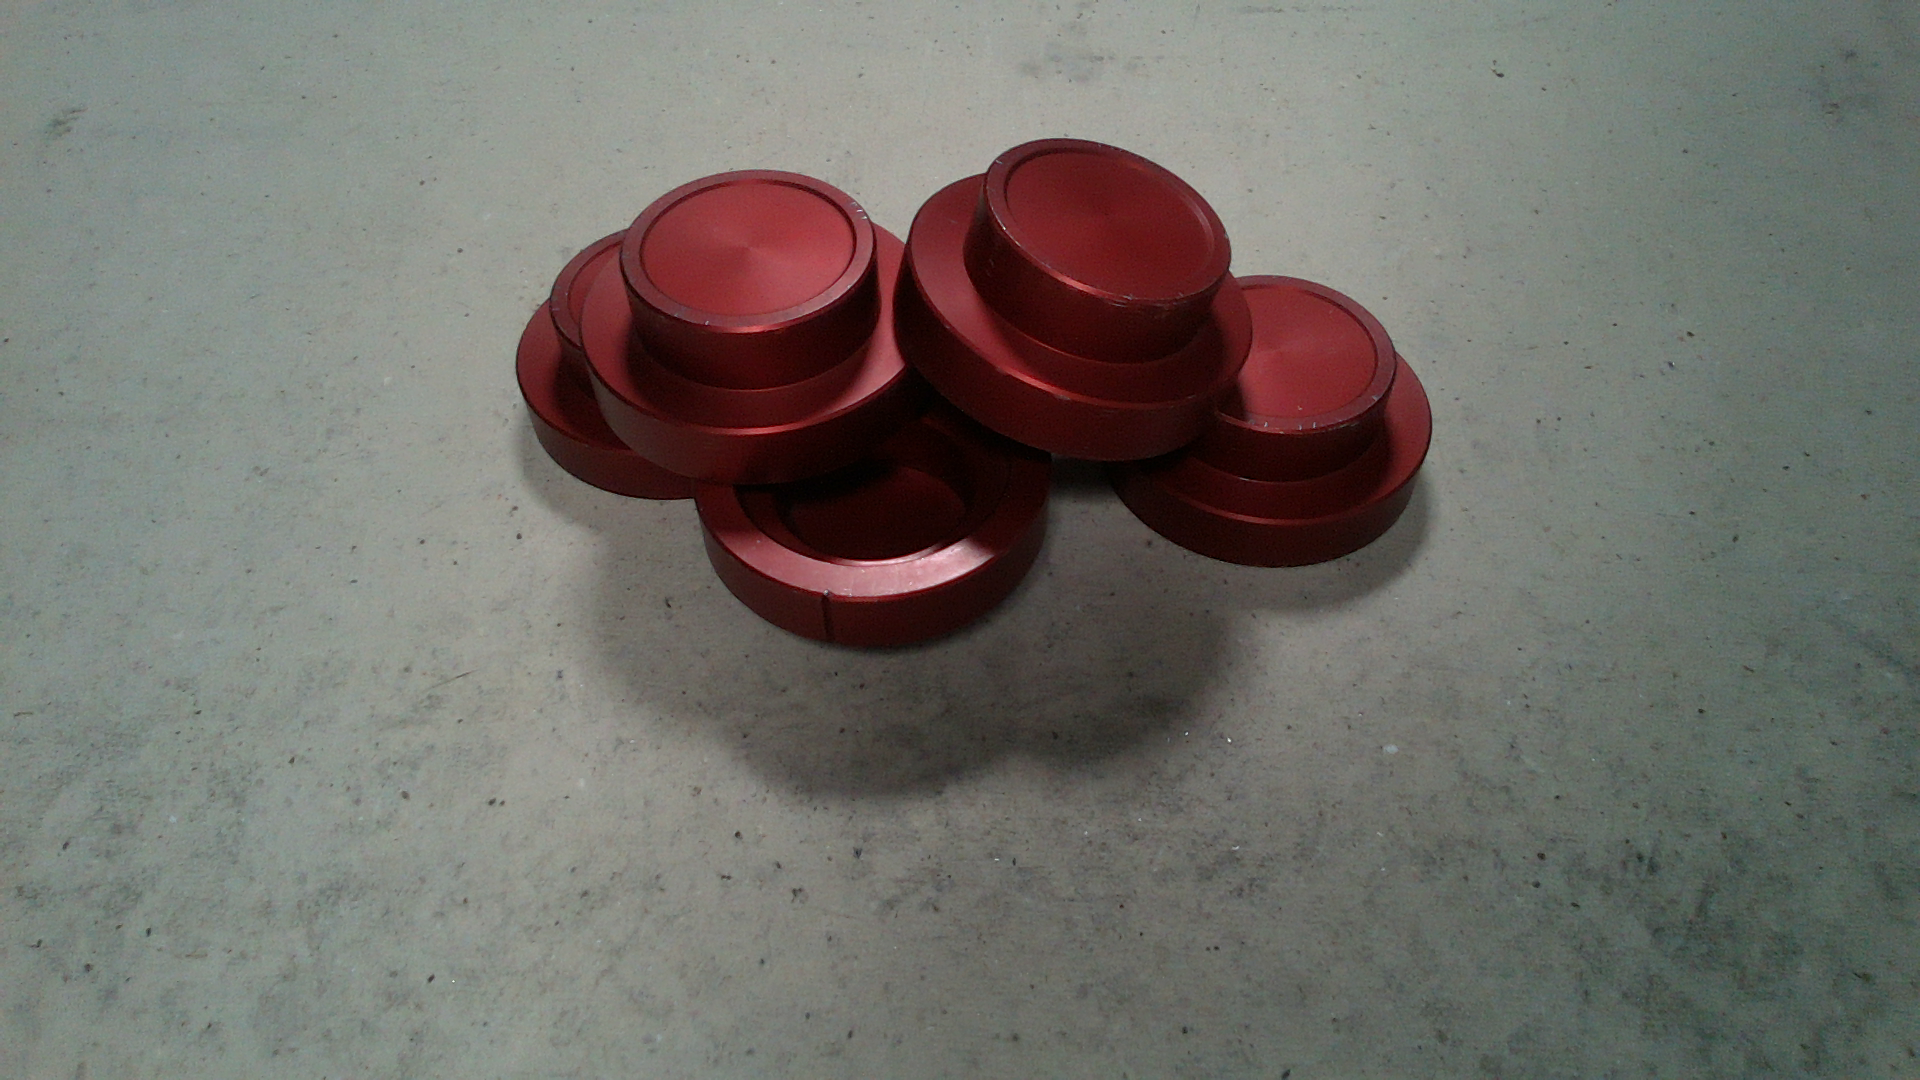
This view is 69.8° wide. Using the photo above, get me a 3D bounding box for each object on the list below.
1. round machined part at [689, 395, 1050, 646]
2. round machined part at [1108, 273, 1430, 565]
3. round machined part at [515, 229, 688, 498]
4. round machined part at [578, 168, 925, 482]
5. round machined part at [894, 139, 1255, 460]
[{"bbox_3d":[-0.024,-0.009,0.388,0.098,0.042,0.098,0,50,0],"label":"round machined part"},{"bbox_3d":[0.092,-0.043,0.416,0.098,0.042,0.098,0,50,0],"label":"round machined part"},{"bbox_3d":[-0.090,-0.063,0.433,0.098,0.042,0.098,0,50,0],"label":"round machined part"},{"bbox_3d":[-0.056,-0.066,0.381,0.098,0.042,0.098,0,50,0],"label":"round machined part"},{"bbox_3d":[0.034,-0.071,0.372,0.098,0.042,0.098,9,48,-10],"label":"round machined part"}]
